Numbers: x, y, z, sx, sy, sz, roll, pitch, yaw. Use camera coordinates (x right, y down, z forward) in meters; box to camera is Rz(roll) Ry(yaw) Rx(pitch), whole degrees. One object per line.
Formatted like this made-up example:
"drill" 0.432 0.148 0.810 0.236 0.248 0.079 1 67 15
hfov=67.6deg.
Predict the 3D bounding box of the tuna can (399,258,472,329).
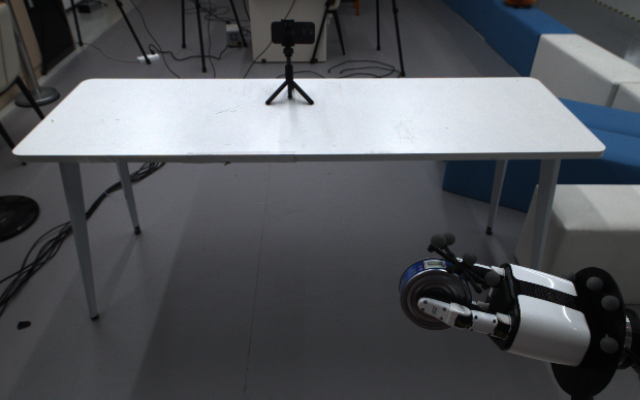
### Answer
"tuna can" 0.143 0.113 0.595 0.085 0.085 0.034 7 19 6
